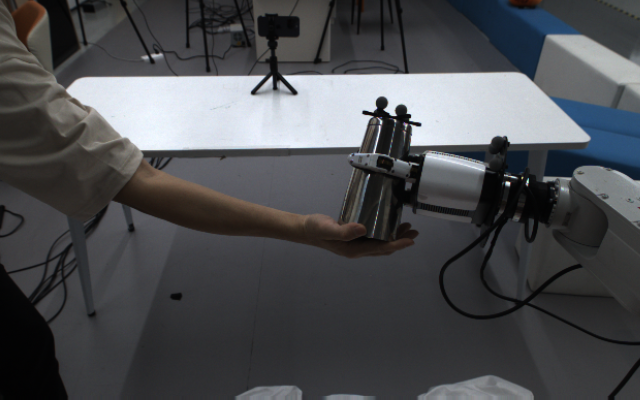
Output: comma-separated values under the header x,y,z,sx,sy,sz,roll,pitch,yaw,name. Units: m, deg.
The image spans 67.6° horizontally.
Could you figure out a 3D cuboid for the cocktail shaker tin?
x,y,z,sx,sy,sz,roll,pitch,yaw,name
0.086,-0.032,0.713,0.093,0.170,0.093,13,-2,0,cocktail shaker tin
